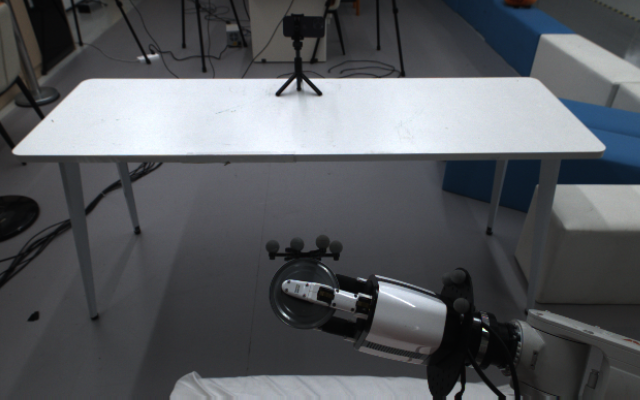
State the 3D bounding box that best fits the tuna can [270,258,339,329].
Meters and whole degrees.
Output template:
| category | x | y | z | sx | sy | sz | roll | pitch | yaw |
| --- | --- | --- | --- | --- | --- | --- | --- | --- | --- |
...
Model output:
| category | x | y | z | sx | sy | sz | roll | pitch | yaw |
| --- | --- | --- | --- | --- | --- | --- | --- | --- | --- |
| tuna can | -0.017 | 0.120 | 0.591 | 0.085 | 0.034 | 0.085 | 1 | 74 | -4 |
